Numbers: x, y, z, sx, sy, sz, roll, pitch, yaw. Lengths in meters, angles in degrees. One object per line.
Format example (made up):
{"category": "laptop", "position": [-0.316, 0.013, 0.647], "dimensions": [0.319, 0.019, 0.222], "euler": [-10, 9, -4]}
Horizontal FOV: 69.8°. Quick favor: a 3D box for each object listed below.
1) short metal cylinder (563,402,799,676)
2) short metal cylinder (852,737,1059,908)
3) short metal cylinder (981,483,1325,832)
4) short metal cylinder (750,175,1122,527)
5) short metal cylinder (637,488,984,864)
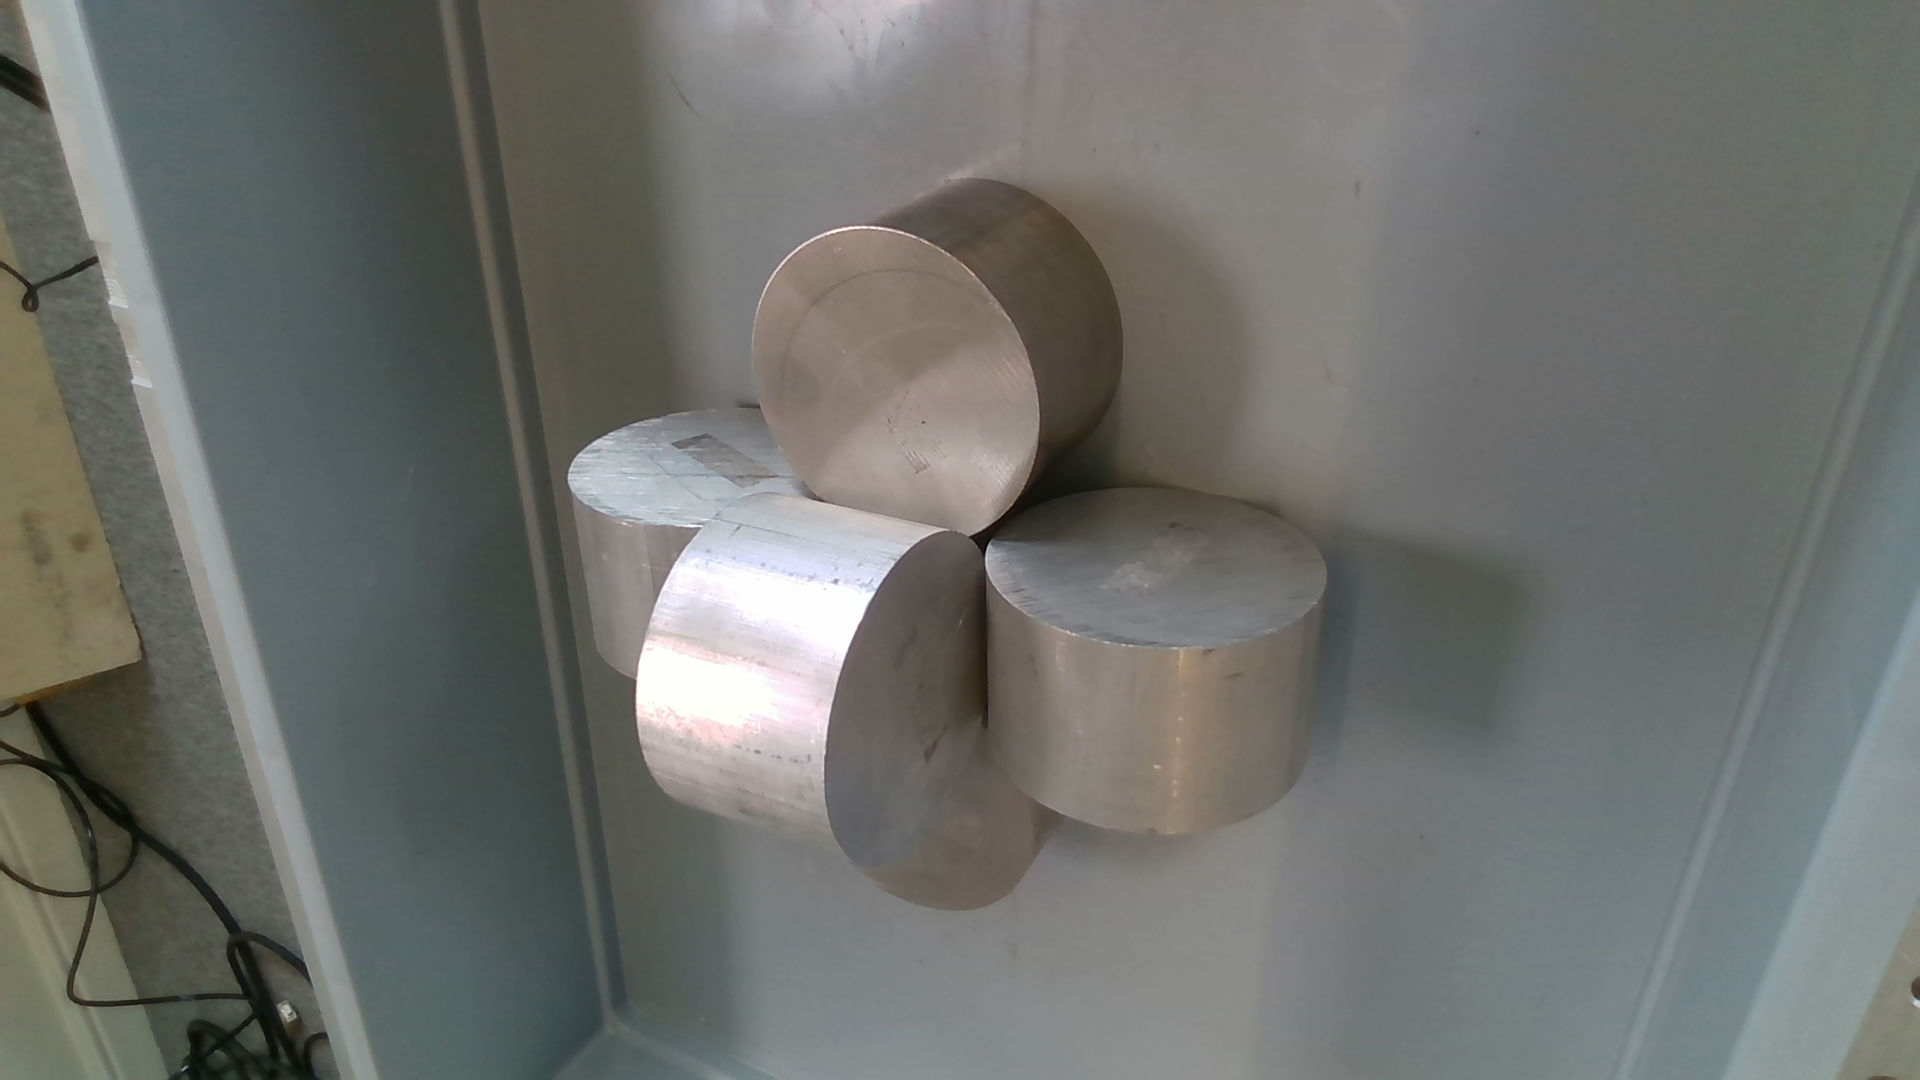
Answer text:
{"category": "short metal cylinder", "position": [-0.068, -0.001, 0.393], "dimensions": [0.080, 0.080, 0.050], "euler": [13, 122, 26]}
{"category": "short metal cylinder", "position": [-0.004, 0.060, 0.406], "dimensions": [0.080, 0.050, 0.080], "euler": [15, 122, 25]}
{"category": "short metal cylinder", "position": [0.046, 0.026, 0.337], "dimensions": [0.080, 0.080, 0.050], "euler": [13, 122, 26]}
{"category": "short metal cylinder", "position": [-0.006, -0.047, 0.349], "dimensions": [0.080, 0.050, 0.080], "euler": [15, 122, 25]}
{"category": "short metal cylinder", "position": [-0.032, 0.031, 0.331], "dimensions": [0.050, 0.080, 0.080], "euler": [13, 121, 25]}
